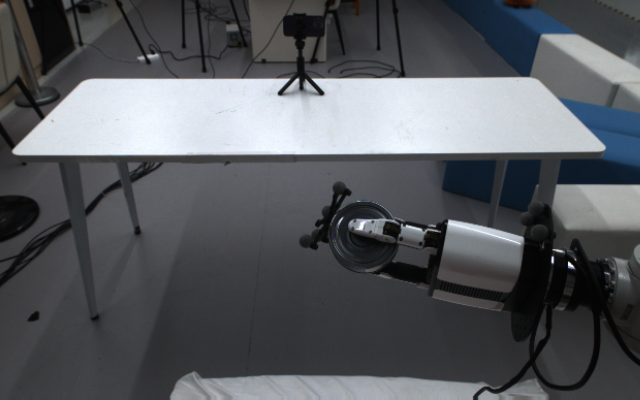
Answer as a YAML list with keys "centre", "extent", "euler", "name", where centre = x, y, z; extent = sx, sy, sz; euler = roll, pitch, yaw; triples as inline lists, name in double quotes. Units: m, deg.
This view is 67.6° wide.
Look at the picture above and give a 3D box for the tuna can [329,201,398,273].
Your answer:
- centre: [0.056, 0.042, 0.589]
  extent: [0.085, 0.034, 0.085]
  euler: [-2, 71, 5]
  name: "tuna can"
